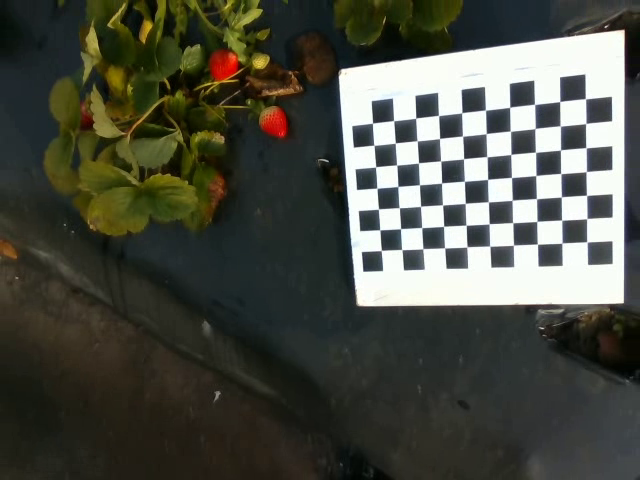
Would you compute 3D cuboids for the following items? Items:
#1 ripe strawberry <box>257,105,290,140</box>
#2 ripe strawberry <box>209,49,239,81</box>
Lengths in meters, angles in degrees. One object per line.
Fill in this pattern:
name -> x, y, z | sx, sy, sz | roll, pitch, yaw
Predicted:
ripe strawberry -> -0.053, -0.134, 0.693 | 0.035, 0.043, 0.029 | -42, -8, 19
ripe strawberry -> -0.112, -0.204, 0.695 | 0.031, 0.040, 0.048 | -21, 5, -28
